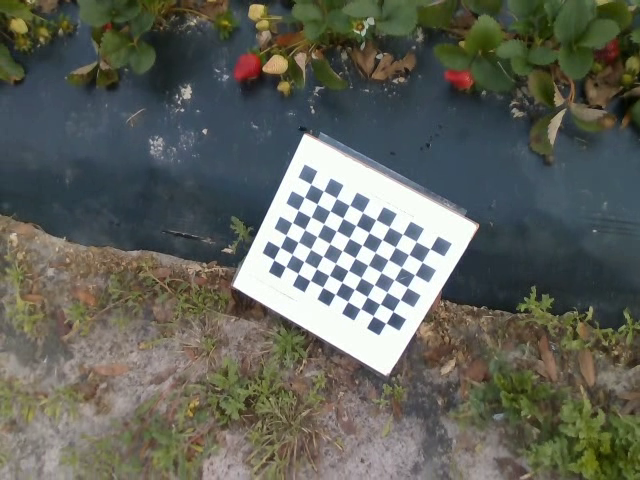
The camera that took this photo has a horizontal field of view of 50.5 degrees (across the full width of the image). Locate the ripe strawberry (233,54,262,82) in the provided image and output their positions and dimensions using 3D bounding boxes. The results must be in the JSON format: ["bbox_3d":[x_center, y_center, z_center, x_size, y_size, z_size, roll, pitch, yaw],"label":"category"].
[{"bbox_3d":[-0.117,-0.269,1.058,0.050,0.059,0.033,18,-33,14],"label":"ripe strawberry"}]
